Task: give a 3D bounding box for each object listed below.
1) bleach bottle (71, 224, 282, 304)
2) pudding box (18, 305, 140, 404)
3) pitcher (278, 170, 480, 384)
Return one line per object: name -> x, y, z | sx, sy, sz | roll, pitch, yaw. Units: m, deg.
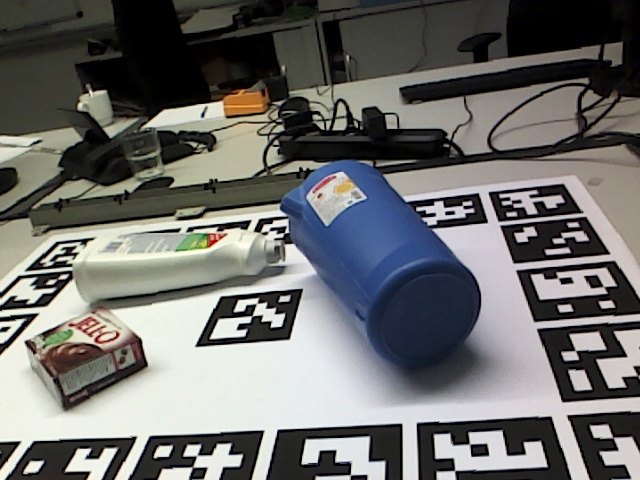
bleach bottle -> -0.174, 0.024, 0.784 | 0.251, 0.067, 0.103 | -5, 30, 7
pudding box -> -0.252, 0.115, 0.645 | 0.089, 0.038, 0.115 | -20, 29, -32
pitcher -> 0.066, 0.035, 0.635 | 0.188, 0.133, 0.244 | 16, 20, -27
